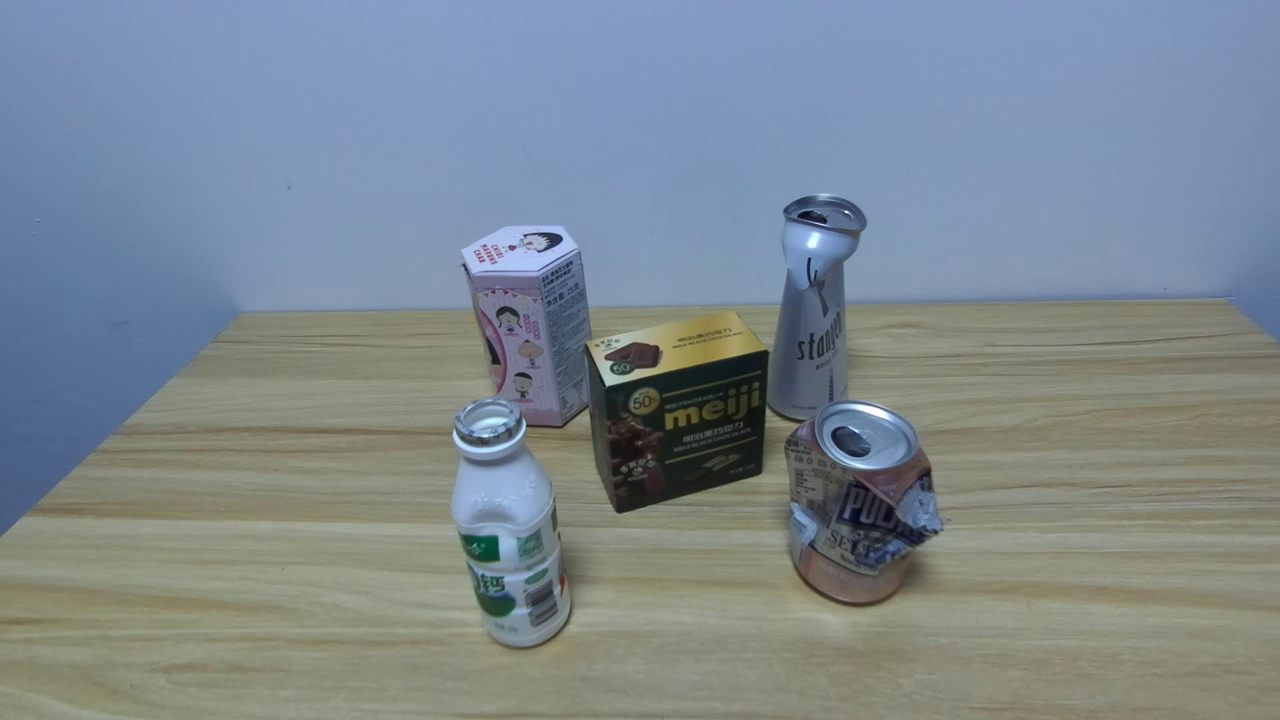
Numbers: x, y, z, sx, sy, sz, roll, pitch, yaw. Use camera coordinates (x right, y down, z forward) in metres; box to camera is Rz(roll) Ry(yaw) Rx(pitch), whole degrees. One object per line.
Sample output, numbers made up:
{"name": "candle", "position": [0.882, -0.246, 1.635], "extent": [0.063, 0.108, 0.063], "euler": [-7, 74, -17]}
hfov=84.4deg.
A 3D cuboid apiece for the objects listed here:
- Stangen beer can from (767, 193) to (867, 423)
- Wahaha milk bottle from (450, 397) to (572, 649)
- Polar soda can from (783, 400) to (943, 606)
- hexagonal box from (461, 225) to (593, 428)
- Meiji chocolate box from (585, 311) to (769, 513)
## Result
{"name": "Stangen beer can", "position": [0.126, -0.034, 0.513], "extent": [0.066, 0.162, 0.077], "euler": [-9, 34, -8]}
{"name": "Wahaha milk bottle", "position": [-0.068, 0.093, 0.375], "extent": [0.053, 0.137, 0.053], "euler": [-2, 34, 2]}
{"name": "Polar soda can", "position": [0.123, 0.080, 0.394], "extent": [0.074, 0.114, 0.070], "euler": [-8, 39, 1]}
{"name": "hexagonal box", "position": [-0.083, -0.024, 0.548], "extent": [0.084, 0.136, 0.091], "euler": [-16, 35, -17]}
{"name": "Meiji chocolate box", "position": [0.025, 0.035, 0.473], "extent": [0.110, 0.109, 0.056], "euler": [-13, 36, -13]}
